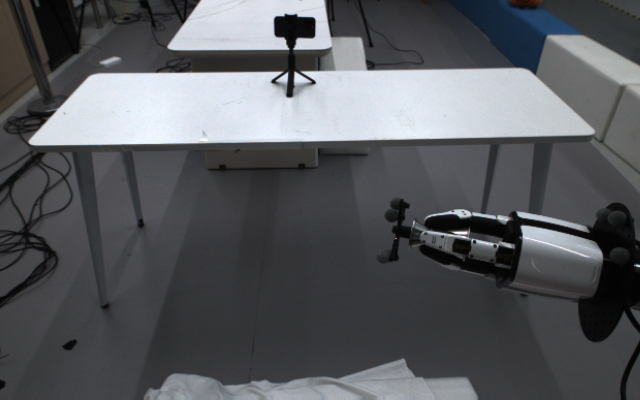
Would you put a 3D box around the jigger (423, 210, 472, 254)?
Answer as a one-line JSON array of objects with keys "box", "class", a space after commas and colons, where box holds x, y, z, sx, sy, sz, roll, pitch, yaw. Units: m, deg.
[{"box": [0.153, 0.044, 0.598, 0.071, 0.043, 0.043, 10, 35, 16], "class": "jigger"}]
